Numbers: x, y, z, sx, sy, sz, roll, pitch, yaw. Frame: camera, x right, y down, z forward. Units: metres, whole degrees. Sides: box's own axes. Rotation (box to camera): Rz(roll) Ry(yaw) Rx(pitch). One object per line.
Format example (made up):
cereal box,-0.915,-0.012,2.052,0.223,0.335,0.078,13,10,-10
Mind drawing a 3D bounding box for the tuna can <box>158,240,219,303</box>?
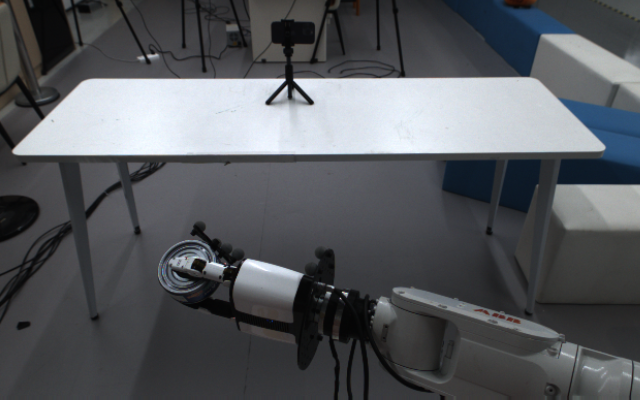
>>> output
tuna can,-0.180,0.101,0.680,0.085,0.034,0.085,-4,58,6
